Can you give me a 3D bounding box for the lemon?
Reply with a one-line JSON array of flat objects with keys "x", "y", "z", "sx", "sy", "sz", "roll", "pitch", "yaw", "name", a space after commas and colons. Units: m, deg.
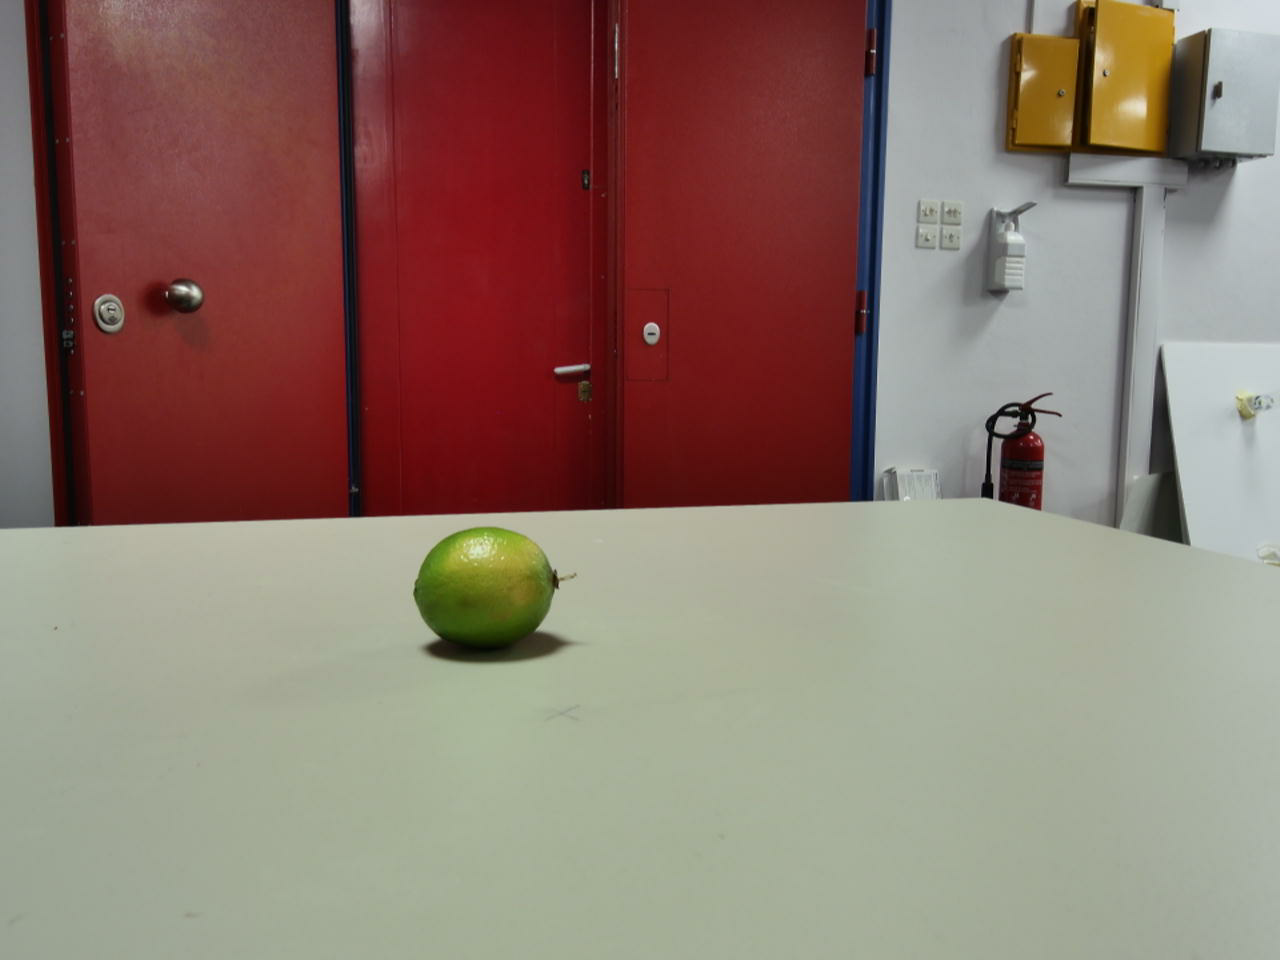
[{"x": -0.066, "y": 0.045, "z": 0.426, "sx": 0.055, "sy": 0.050, "sz": 0.054, "roll": 2, "pitch": 5, "yaw": 37, "name": "lemon"}]
